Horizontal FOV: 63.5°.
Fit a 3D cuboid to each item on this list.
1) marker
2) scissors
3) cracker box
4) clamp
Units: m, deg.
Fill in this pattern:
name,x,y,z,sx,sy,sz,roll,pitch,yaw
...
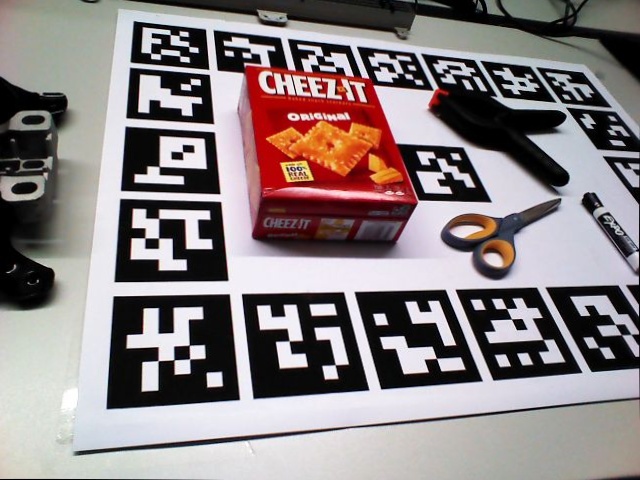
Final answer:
name,x,y,z,sx,sy,sz,roll,pitch,yaw
marker,0.372,-0.011,0.644,0.019,0.020,0.120,-3,51,-18
scissors,0.234,-0.015,0.610,0.201,0.016,0.088,-25,60,-34
cracker box,0.002,-0.096,0.579,0.164,0.072,0.212,1,51,-15
clamp,0.250,-0.157,0.741,0.203,0.037,0.164,24,47,4
